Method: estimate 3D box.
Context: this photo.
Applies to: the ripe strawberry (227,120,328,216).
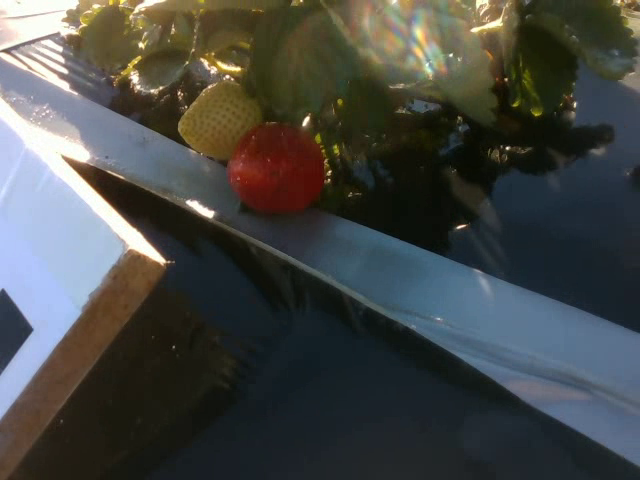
[{"bbox_3d":[-0.022,-0.030,0.249,0.045,0.049,0.063,-33,0,14],"label":"ripe strawberry"}]
